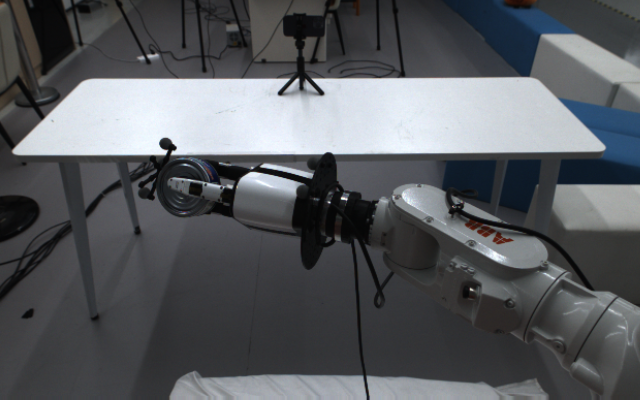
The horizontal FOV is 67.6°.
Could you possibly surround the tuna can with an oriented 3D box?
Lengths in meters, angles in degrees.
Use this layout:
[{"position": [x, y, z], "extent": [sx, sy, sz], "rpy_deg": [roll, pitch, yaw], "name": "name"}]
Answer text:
[{"position": [-0.186, -0.018, 0.687], "extent": [0.085, 0.085, 0.034], "rpy_deg": [10, 6, 11], "name": "tuna can"}]
